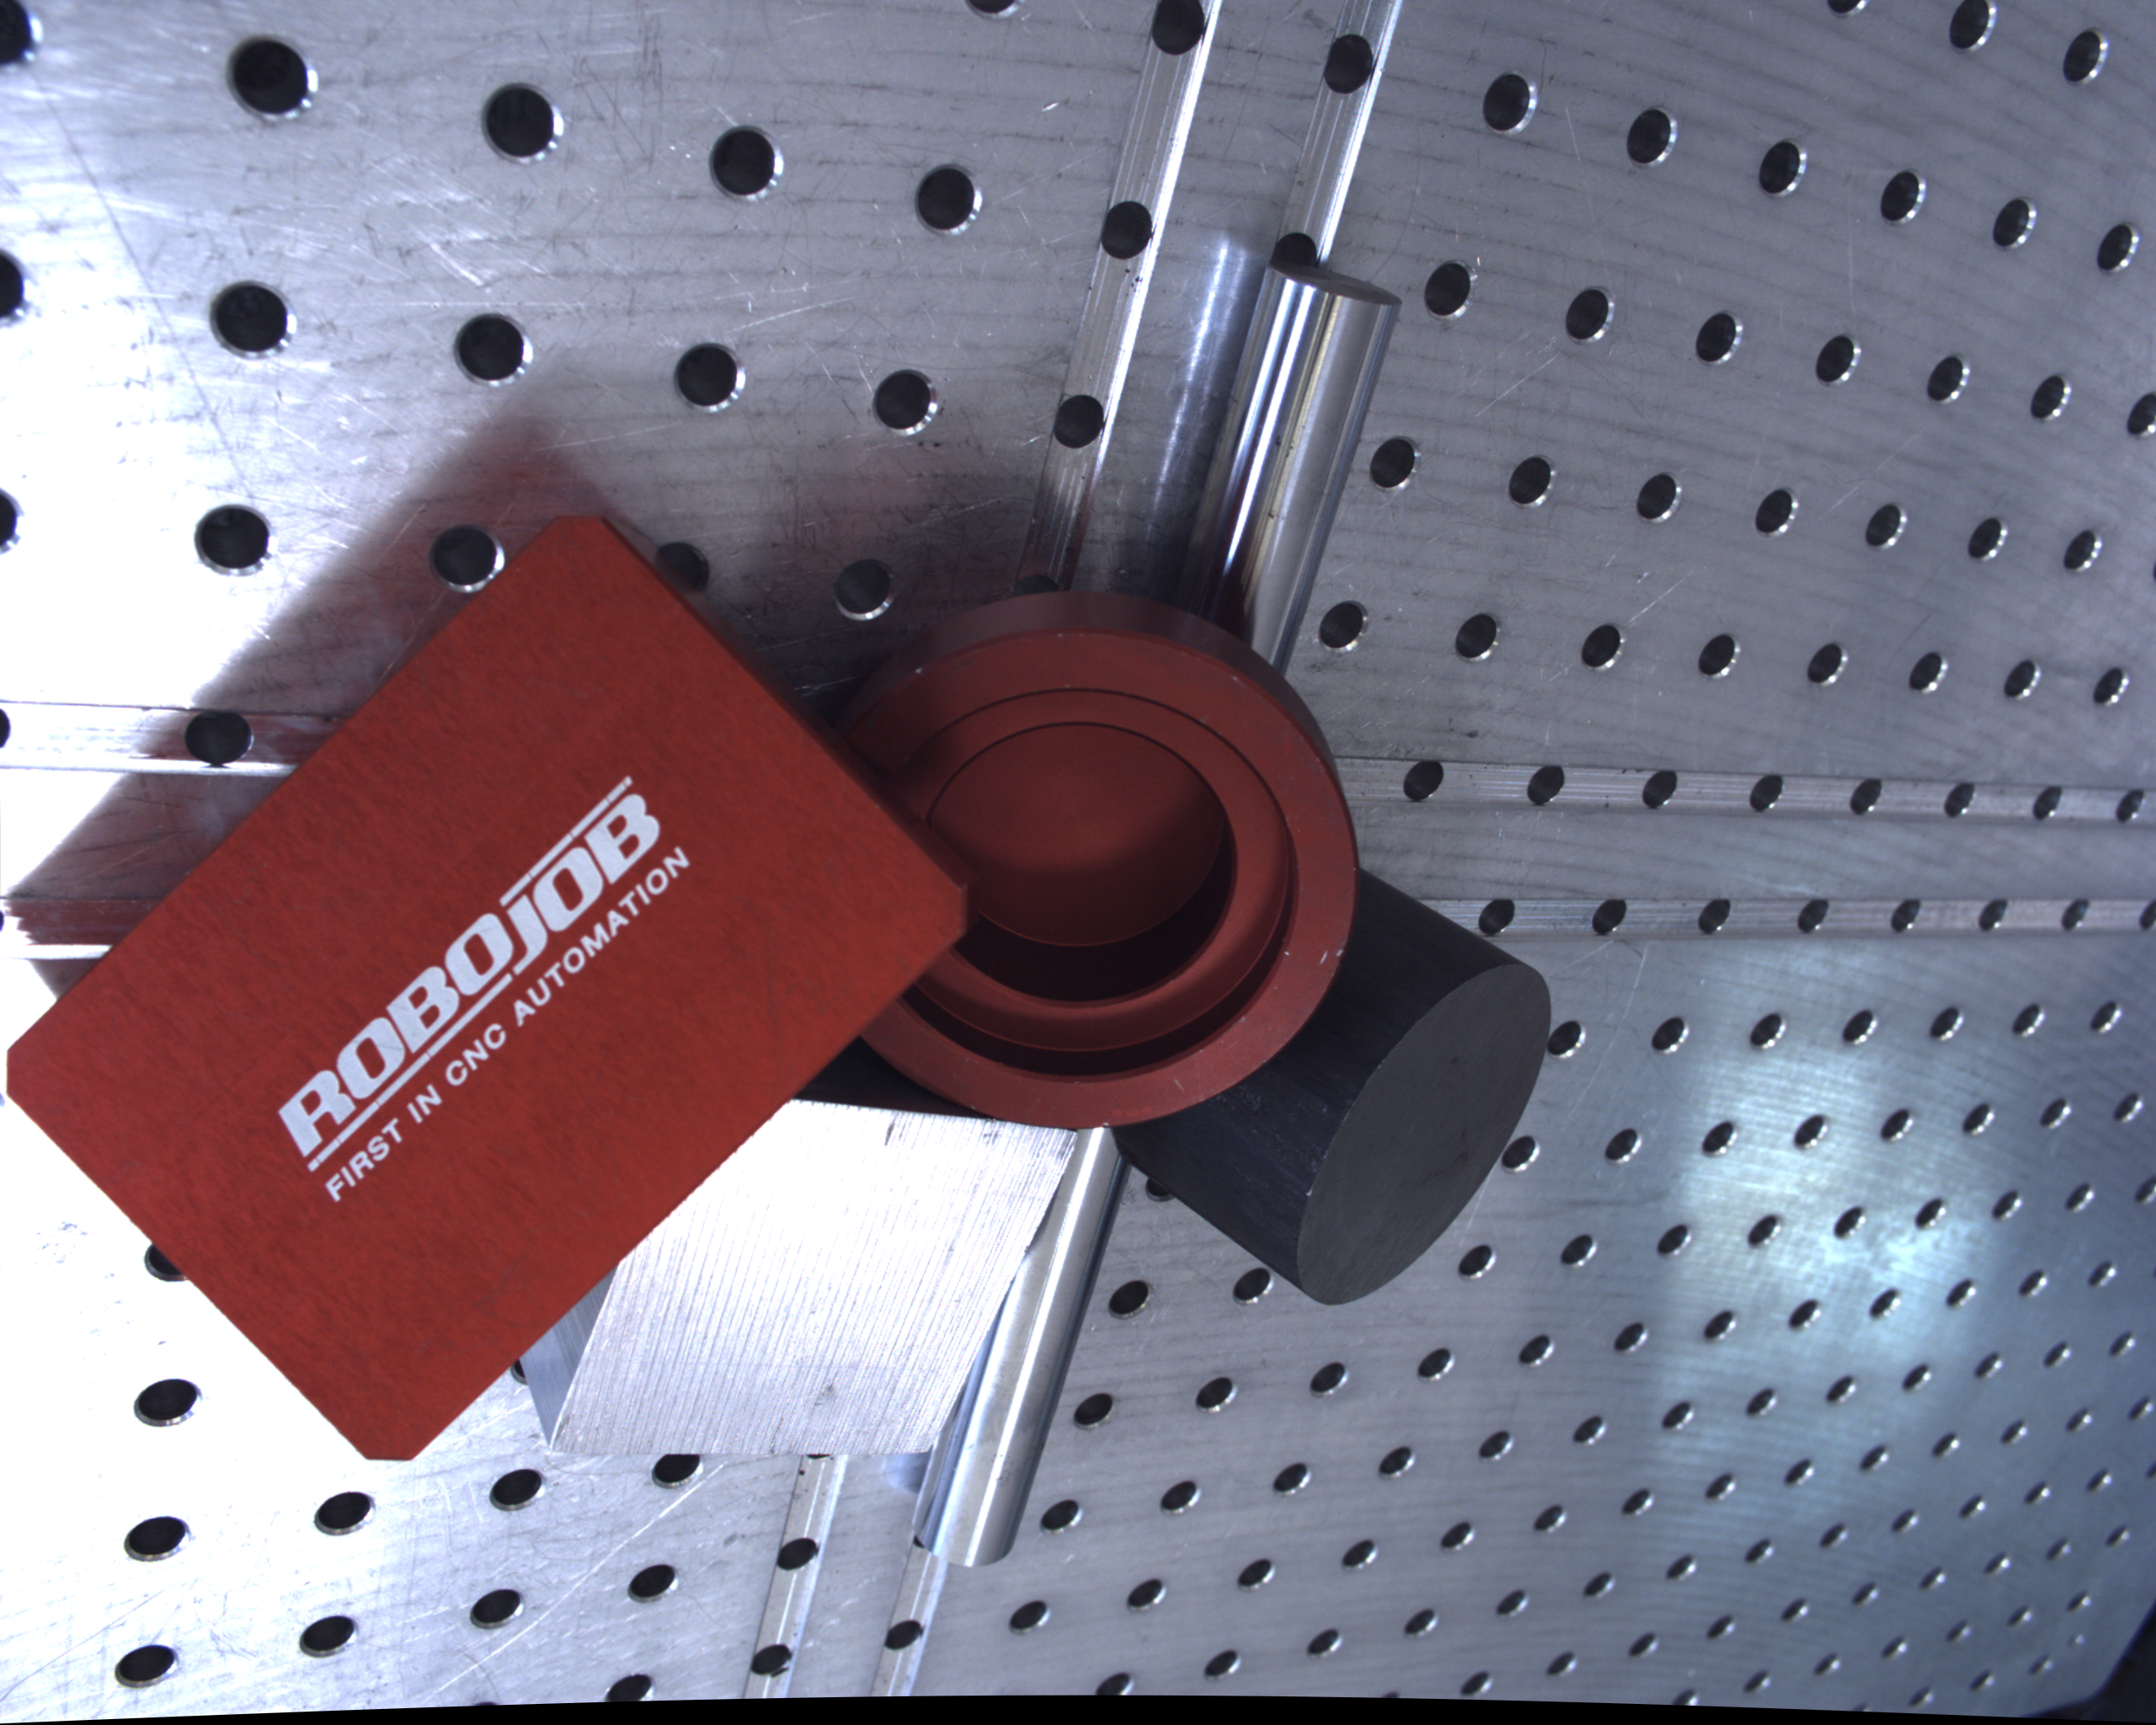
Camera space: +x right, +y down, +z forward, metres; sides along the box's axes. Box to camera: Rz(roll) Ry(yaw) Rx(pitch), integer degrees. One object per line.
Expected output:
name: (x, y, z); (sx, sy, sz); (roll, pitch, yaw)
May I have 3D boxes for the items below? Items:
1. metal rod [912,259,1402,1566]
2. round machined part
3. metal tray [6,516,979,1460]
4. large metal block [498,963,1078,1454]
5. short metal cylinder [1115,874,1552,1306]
metal rod: (0.009, 0.027, 0.434); (0.025, 0.025, 0.298); (1, 118, -29)
round machined part: (0.000, -0.003, 0.382); (0.099, 0.042, 0.097); (0, 115, 0)
metal tray: (-0.092, 0.020, 0.338); (0.130, 0.030, 0.090); (-44, 91, 2)
large metal block: (-0.059, 0.066, 0.404); (0.081, 0.050, 0.079); (11, 113, -33)
short metal cylinder: (0.054, 0.045, 0.435); (0.081, 0.050, 0.079); (-31, 138, -33)
